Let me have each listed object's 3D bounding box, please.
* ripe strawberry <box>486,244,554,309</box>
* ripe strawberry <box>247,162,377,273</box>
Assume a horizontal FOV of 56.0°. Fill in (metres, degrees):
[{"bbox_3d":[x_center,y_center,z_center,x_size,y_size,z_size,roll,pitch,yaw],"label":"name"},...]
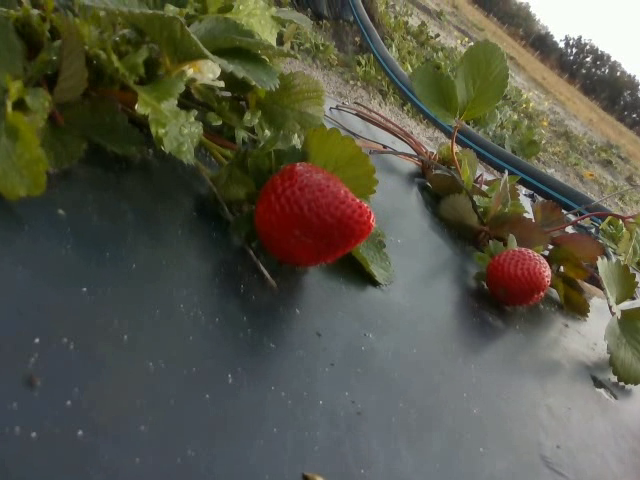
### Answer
[{"bbox_3d":[0.112,0.022,0.322,0.041,0.045,0.052,-24,6,-4],"label":"ripe strawberry"},{"bbox_3d":[0.001,-0.008,0.215,0.050,0.051,0.046,-4,42,54],"label":"ripe strawberry"}]
